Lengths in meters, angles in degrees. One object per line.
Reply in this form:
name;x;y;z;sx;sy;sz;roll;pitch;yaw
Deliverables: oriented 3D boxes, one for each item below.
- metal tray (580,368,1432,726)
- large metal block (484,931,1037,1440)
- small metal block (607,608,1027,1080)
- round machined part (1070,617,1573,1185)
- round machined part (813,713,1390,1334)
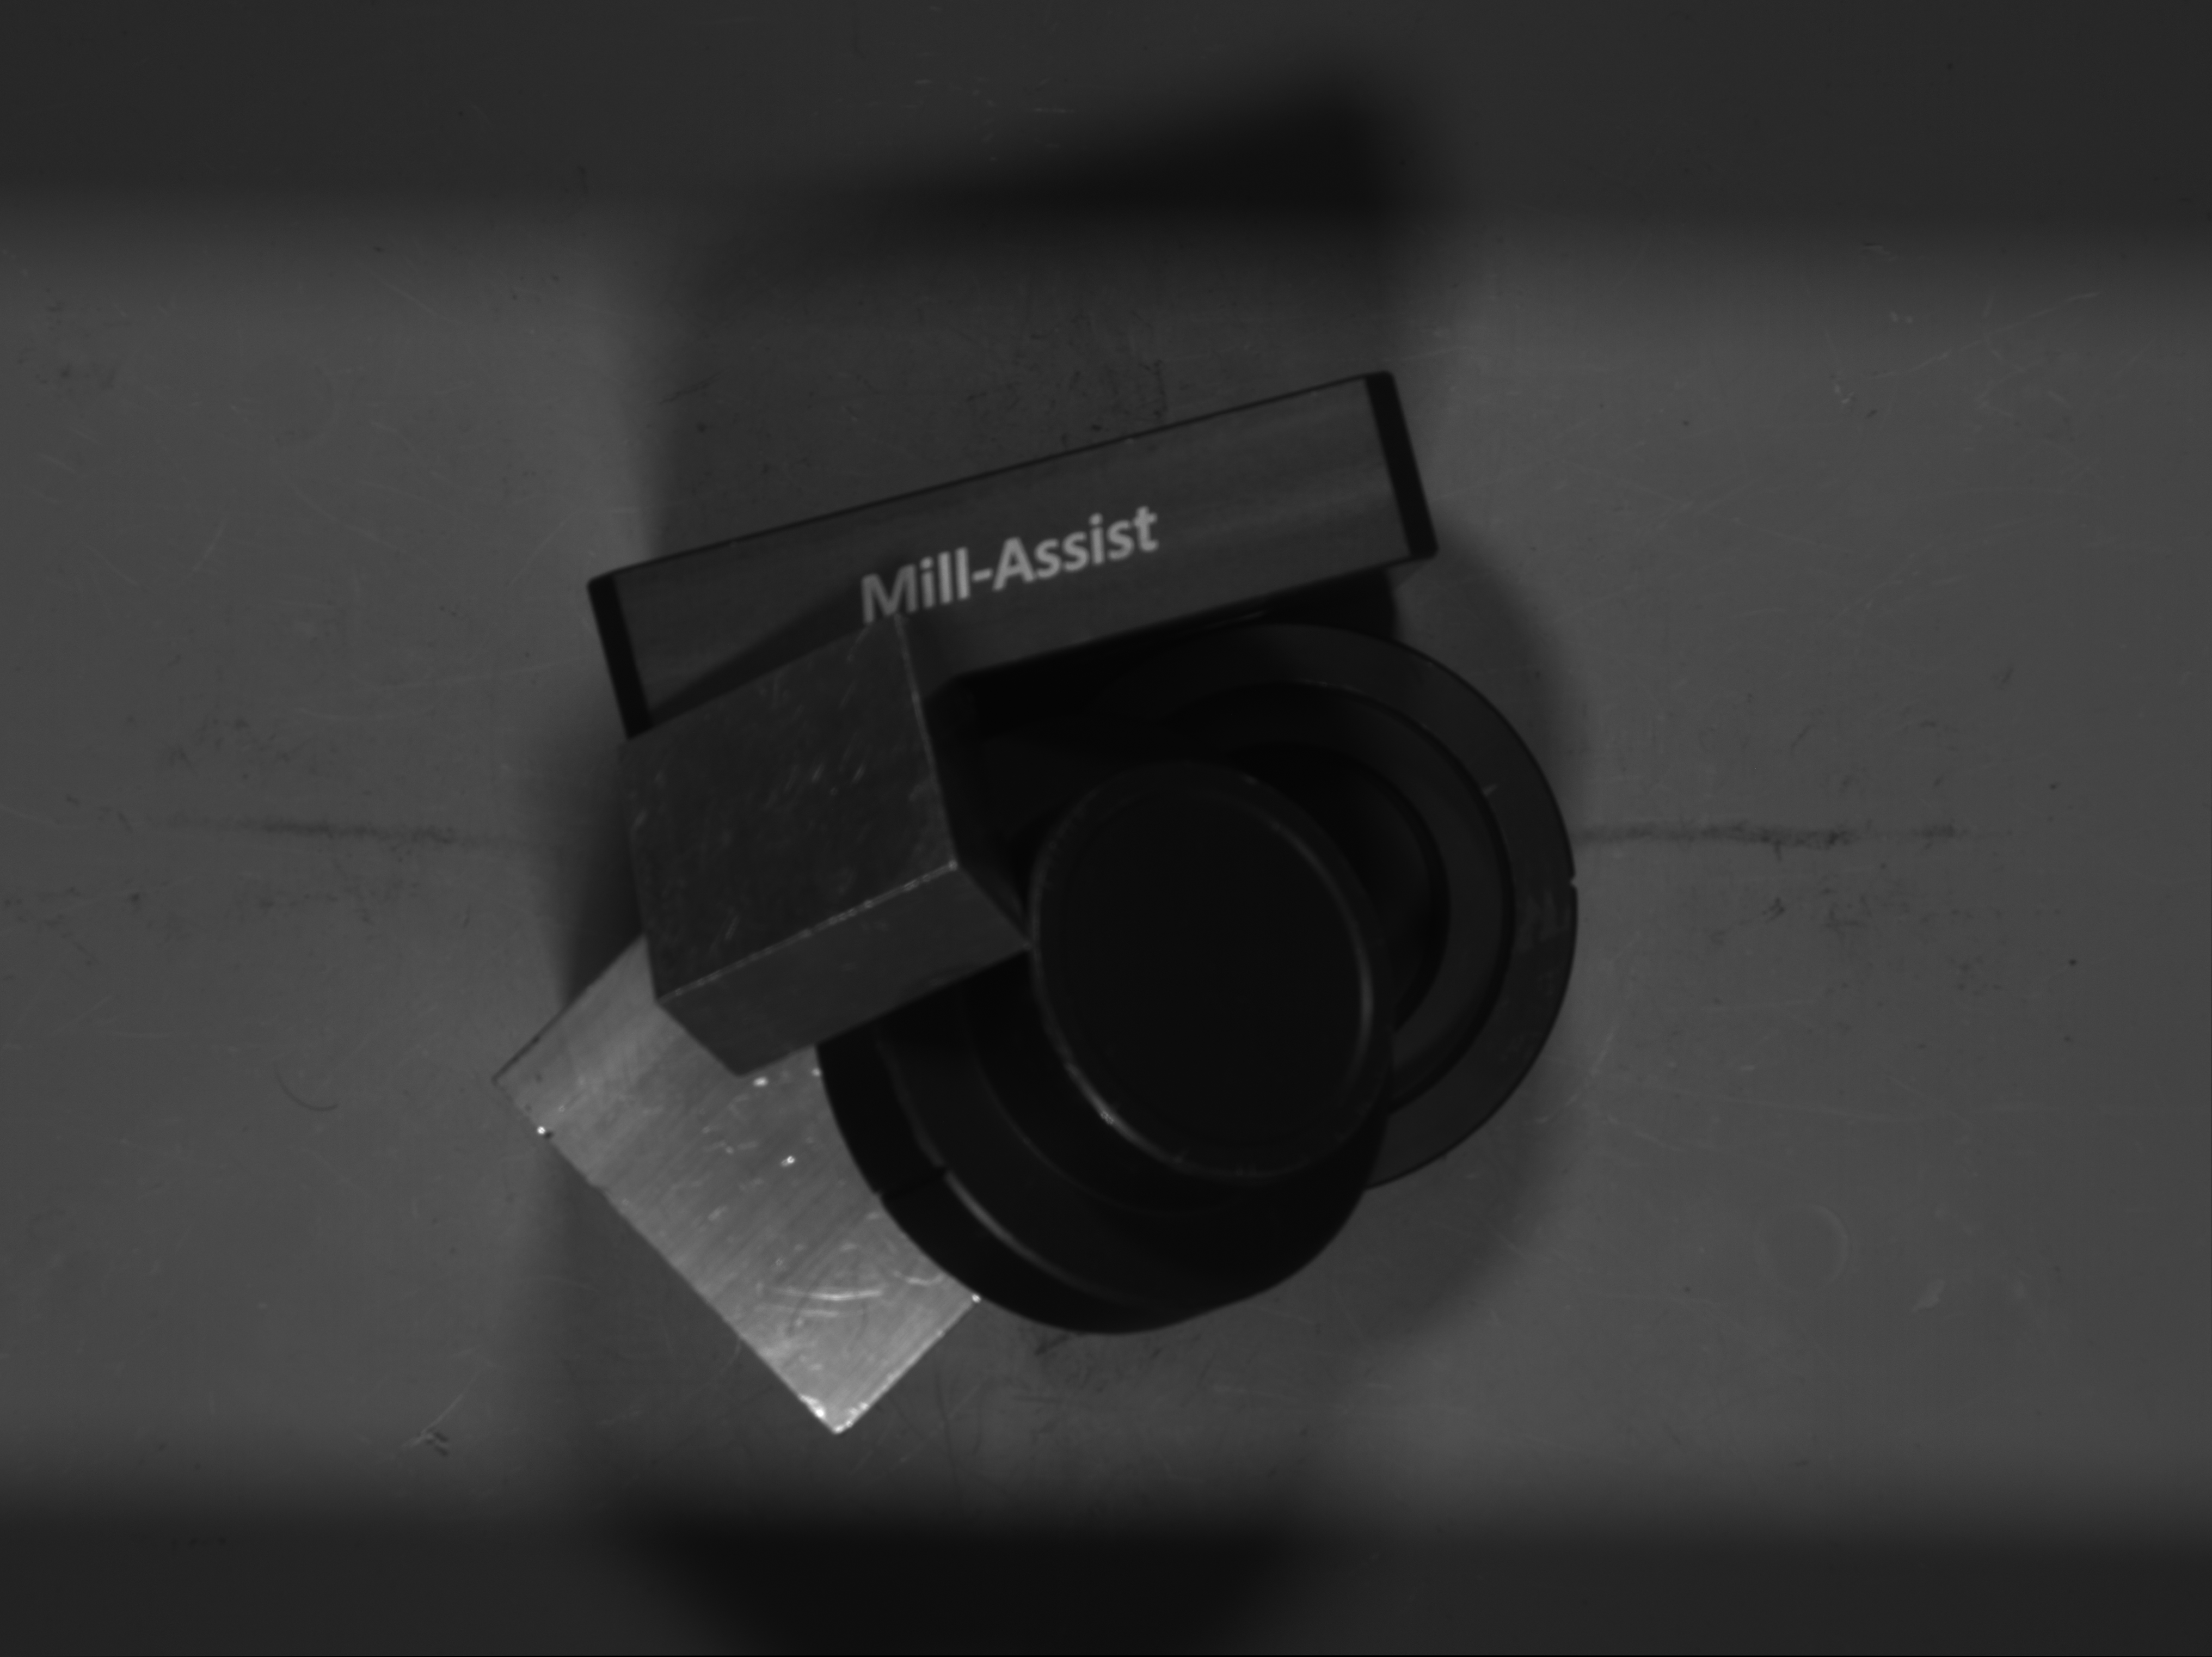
metal tray;-0.016;-0.041;0.611;0.130;0.090;0.030;-15;90;0
large metal block;-0.052;0.050;0.616;0.050;0.080;0.080;-44;90;0
small metal block;-0.044;0.002;0.551;0.050;0.025;0.050;-25;51;12
round machined part;0.030;0.013;0.637;0.098;0.042;0.098;0;90;0
round machined part;0.006;0.028;0.578;0.098;0.042;0.098;14;65;-31
